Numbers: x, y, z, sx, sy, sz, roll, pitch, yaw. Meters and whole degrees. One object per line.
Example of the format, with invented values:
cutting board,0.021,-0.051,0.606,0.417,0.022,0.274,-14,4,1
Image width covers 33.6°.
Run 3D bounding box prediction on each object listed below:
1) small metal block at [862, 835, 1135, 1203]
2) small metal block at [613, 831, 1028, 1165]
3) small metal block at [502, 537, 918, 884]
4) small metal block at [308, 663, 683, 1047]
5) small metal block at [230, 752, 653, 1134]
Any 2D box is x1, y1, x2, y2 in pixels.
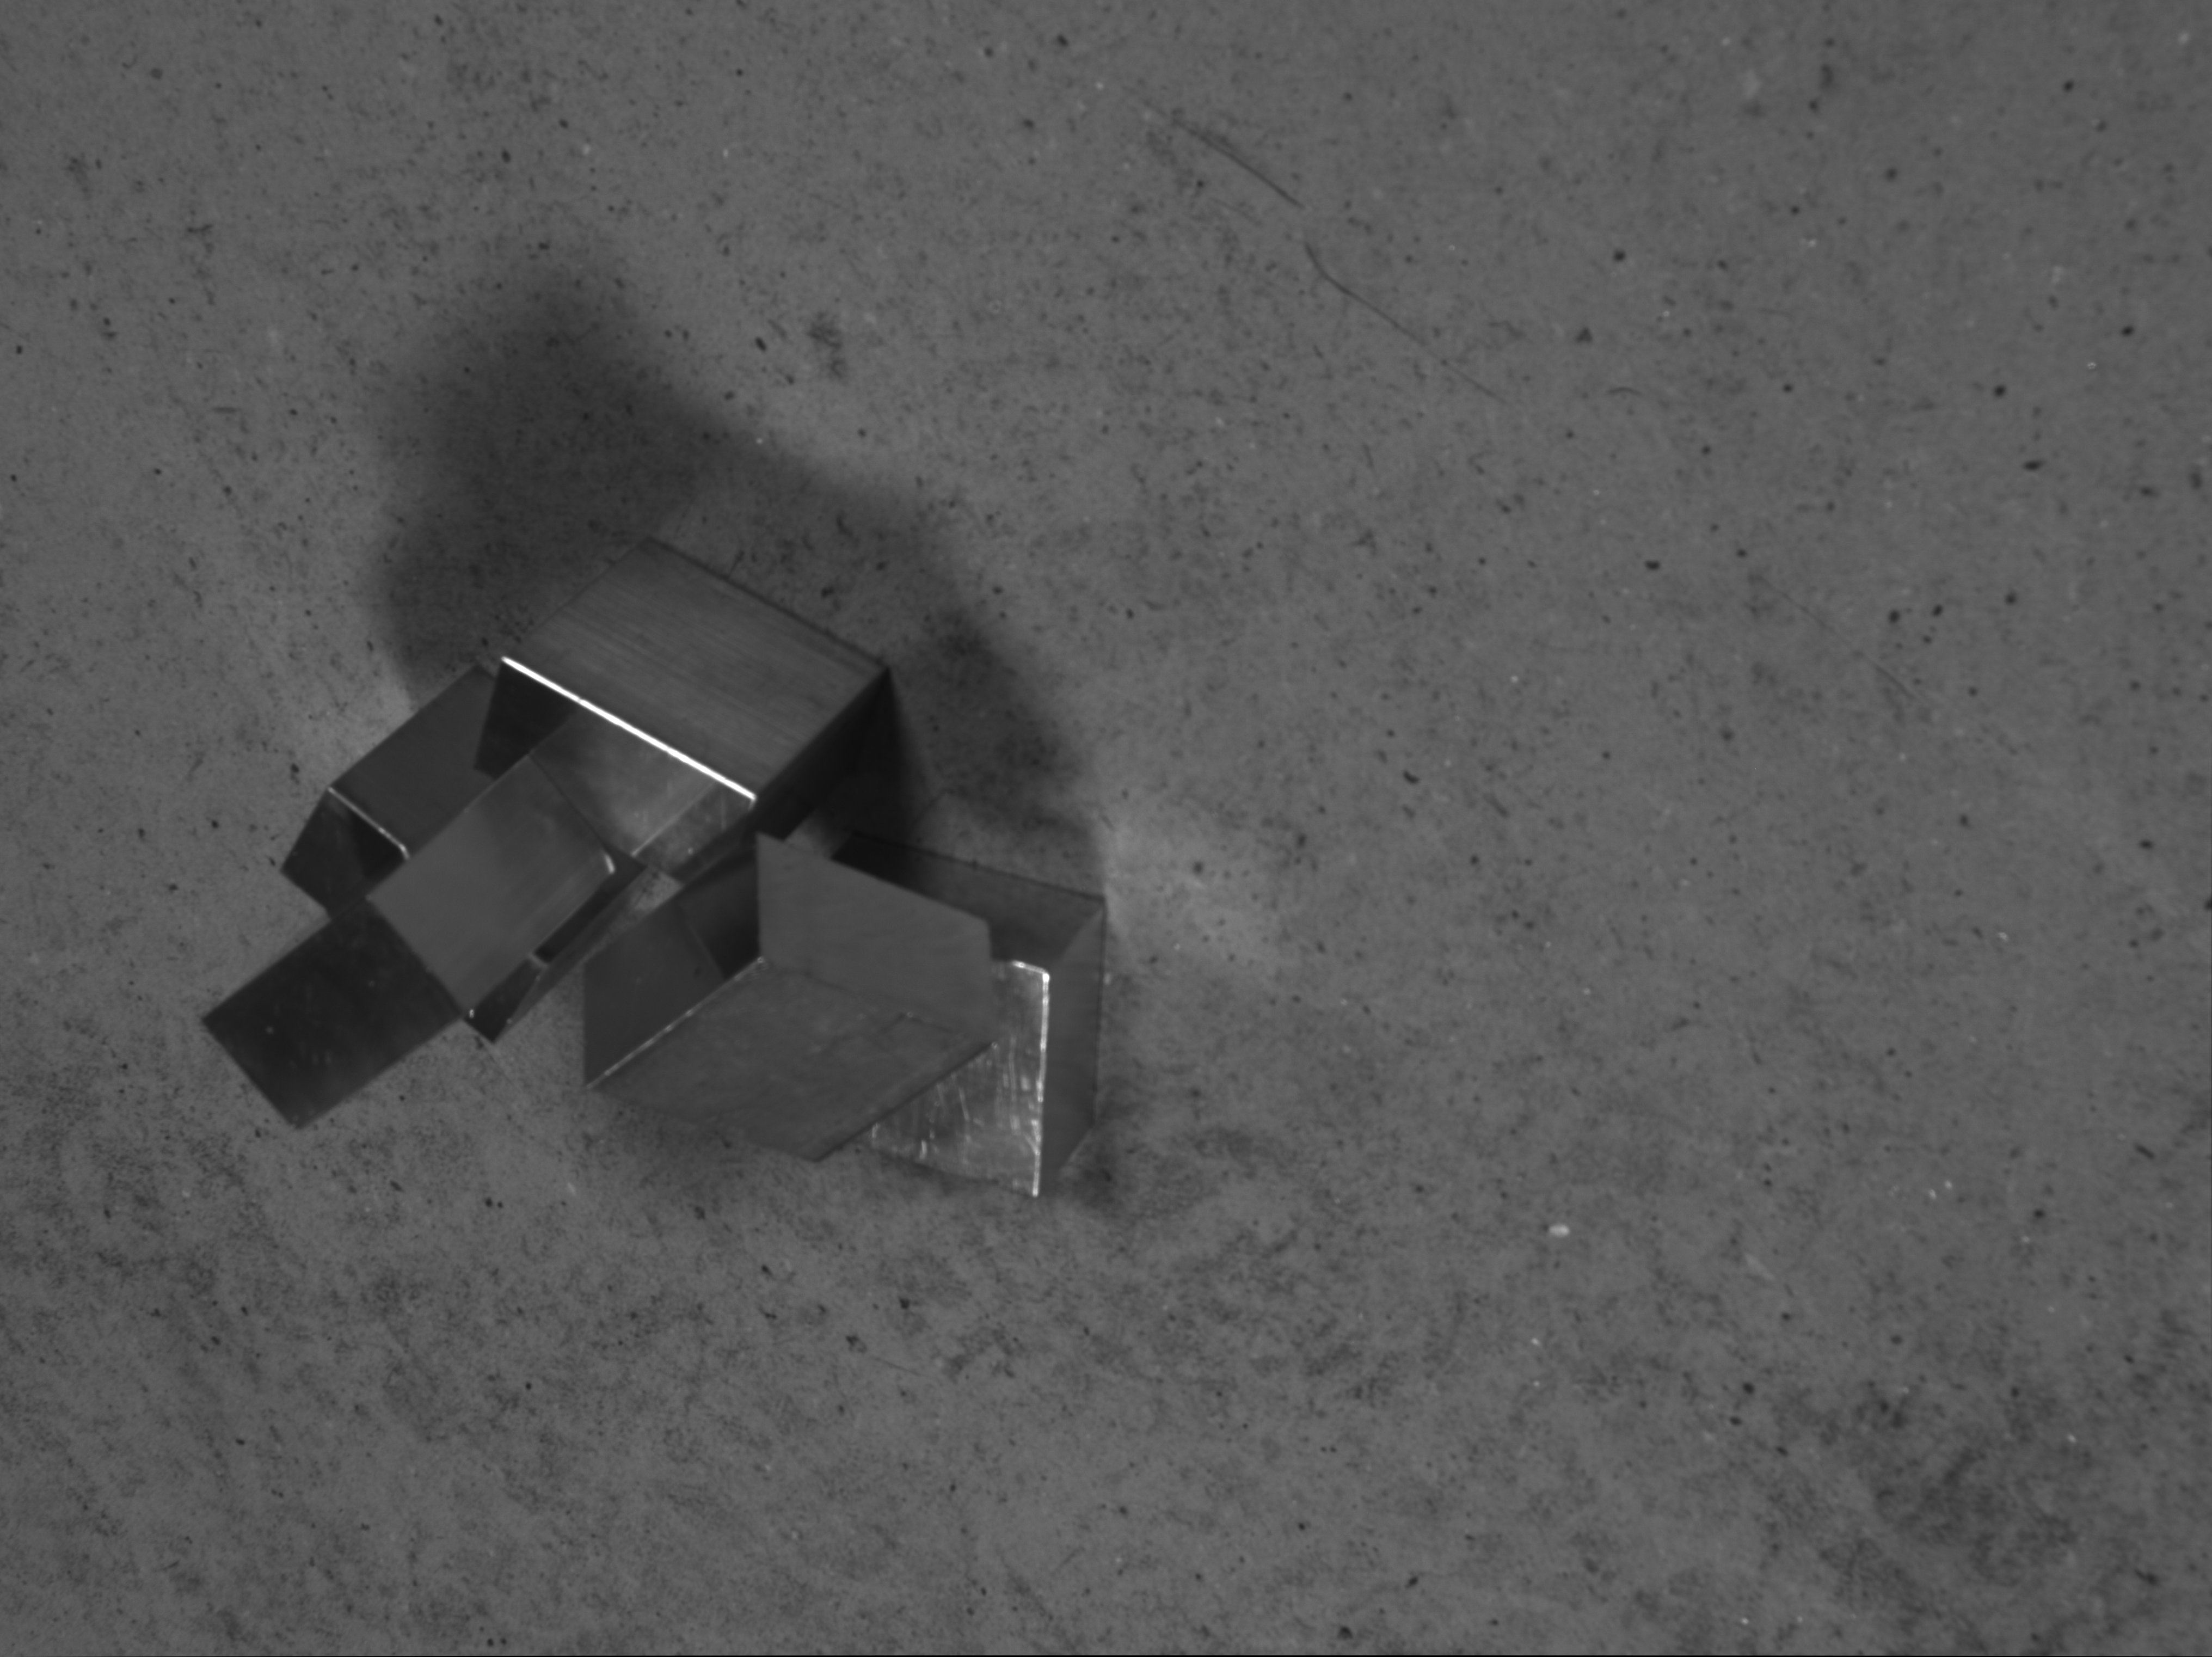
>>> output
small metal block,-0.024,0.034,0.664,0.050,0.025,0.050,15,124,18
small metal block,-0.049,0.030,0.627,0.050,0.025,0.050,23,138,-35
small metal block,-0.069,-0.019,0.638,0.050,0.050,0.025,28,127,9
small metal block,-0.108,0.004,0.673,0.050,0.050,0.025,39,128,1
small metal block,-0.112,0.019,0.620,0.050,0.050,0.025,-33,100,37
